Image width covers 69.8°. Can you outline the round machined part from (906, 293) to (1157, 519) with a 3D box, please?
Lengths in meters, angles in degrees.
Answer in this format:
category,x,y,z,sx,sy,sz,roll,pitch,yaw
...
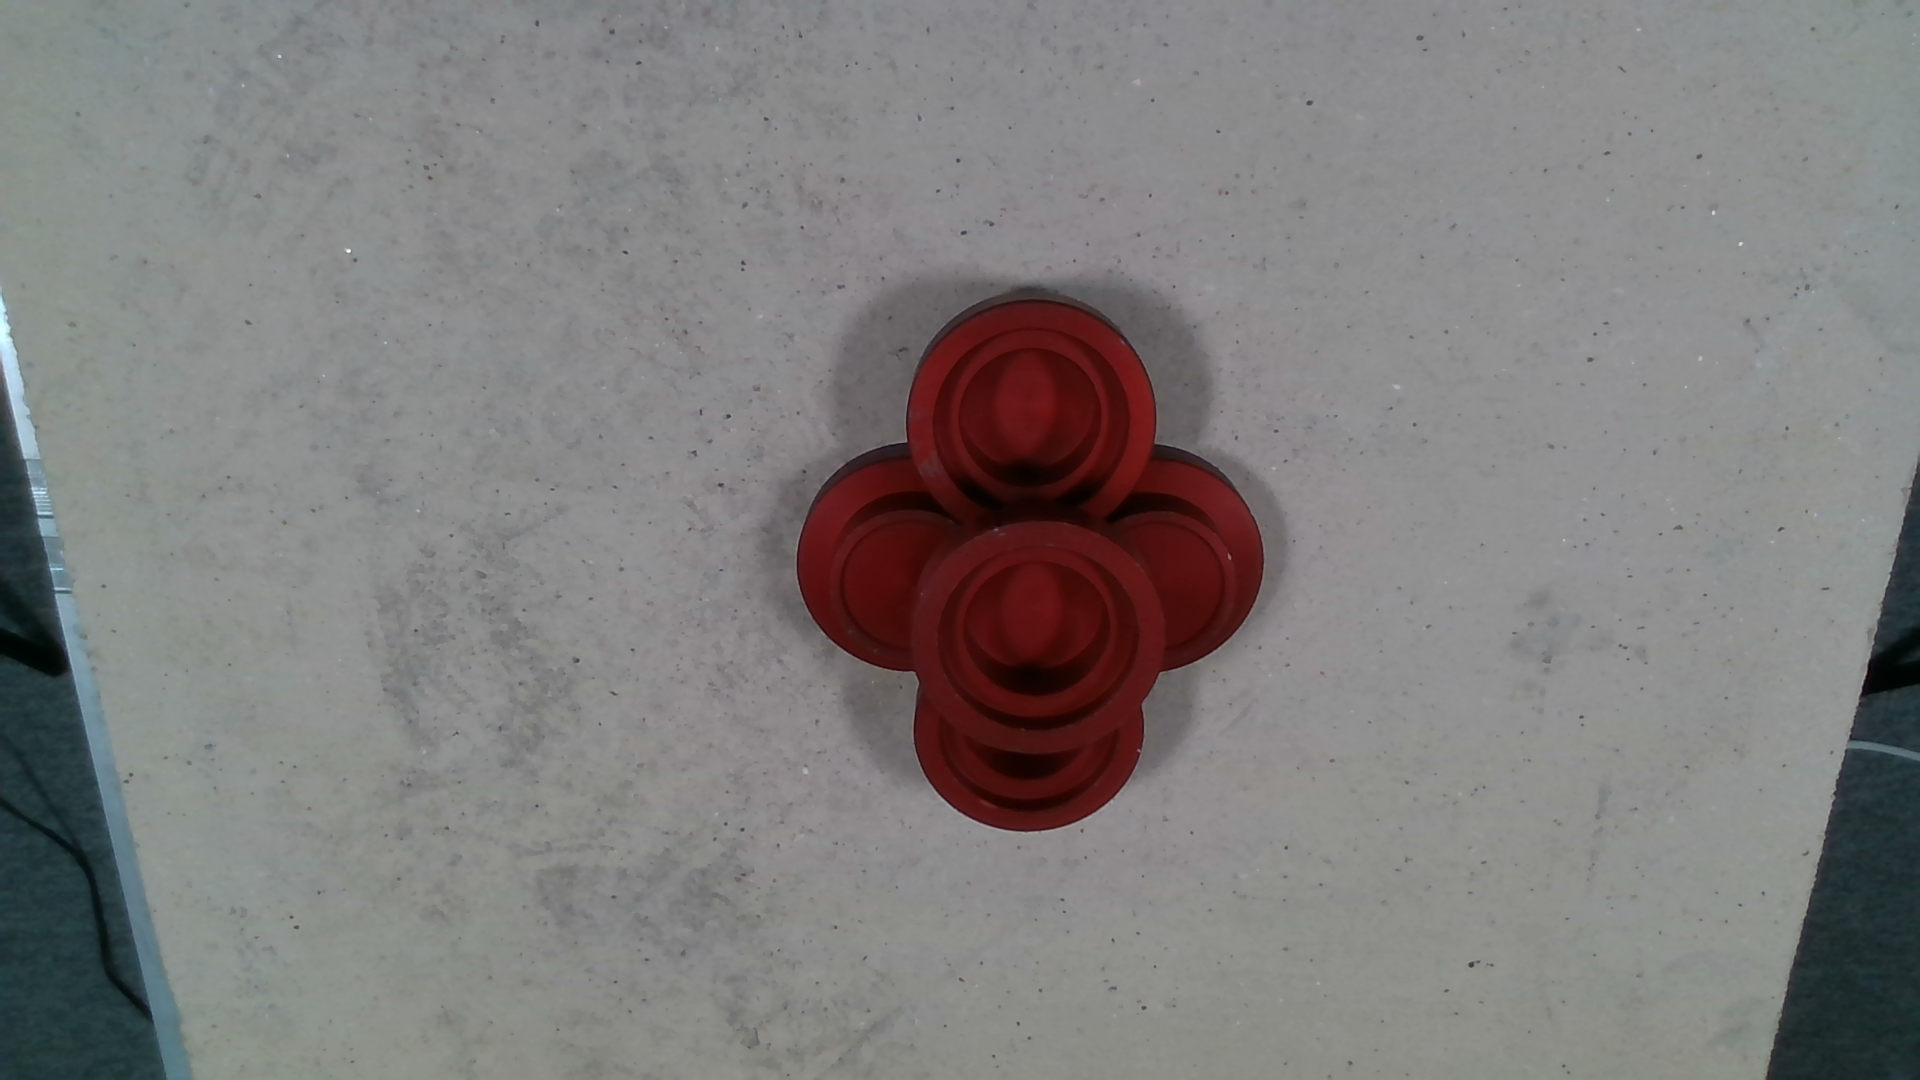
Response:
category,x,y,z,sx,sy,sz,roll,pitch,yaw
round machined part,0.028,-0.053,0.556,0.098,0.042,0.098,0,110,0

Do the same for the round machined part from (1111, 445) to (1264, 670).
category,x,y,z,sx,sy,sz,roll,pitch,yaw
round machined part,0.079,0.012,0.580,0.098,0.042,0.098,0,110,0

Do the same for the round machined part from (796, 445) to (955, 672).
category,x,y,z,sx,sy,sz,roll,pitch,yaw
round machined part,-0.020,0.012,0.580,0.098,0.042,0.098,0,110,0

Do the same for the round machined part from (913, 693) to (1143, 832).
category,x,y,z,sx,sy,sz,roll,pitch,yaw
round machined part,0.029,0.075,0.603,0.098,0.042,0.098,0,110,0

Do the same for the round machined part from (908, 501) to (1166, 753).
category,x,y,z,sx,sy,sz,roll,pitch,yaw
round machined part,0.029,0.031,0.542,0.098,0.042,0.098,0,110,0
